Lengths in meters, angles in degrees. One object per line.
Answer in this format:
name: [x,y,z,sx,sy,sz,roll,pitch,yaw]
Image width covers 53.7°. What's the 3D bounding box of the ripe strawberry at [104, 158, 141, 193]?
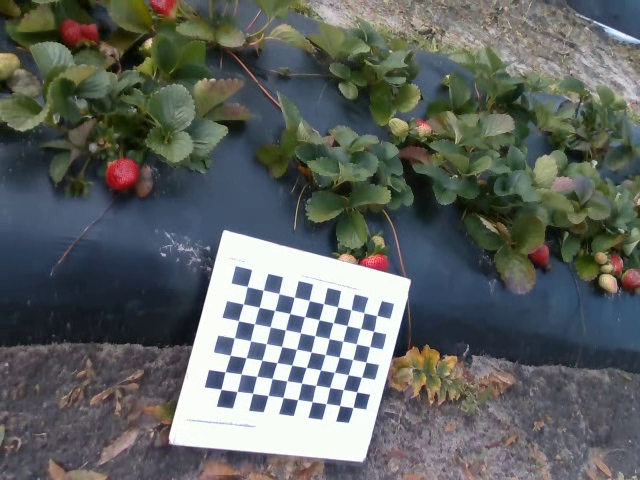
ripe strawberry: [-0.265,-0.086,0.854,0.050,0.049,0.053,8,20,-29]
